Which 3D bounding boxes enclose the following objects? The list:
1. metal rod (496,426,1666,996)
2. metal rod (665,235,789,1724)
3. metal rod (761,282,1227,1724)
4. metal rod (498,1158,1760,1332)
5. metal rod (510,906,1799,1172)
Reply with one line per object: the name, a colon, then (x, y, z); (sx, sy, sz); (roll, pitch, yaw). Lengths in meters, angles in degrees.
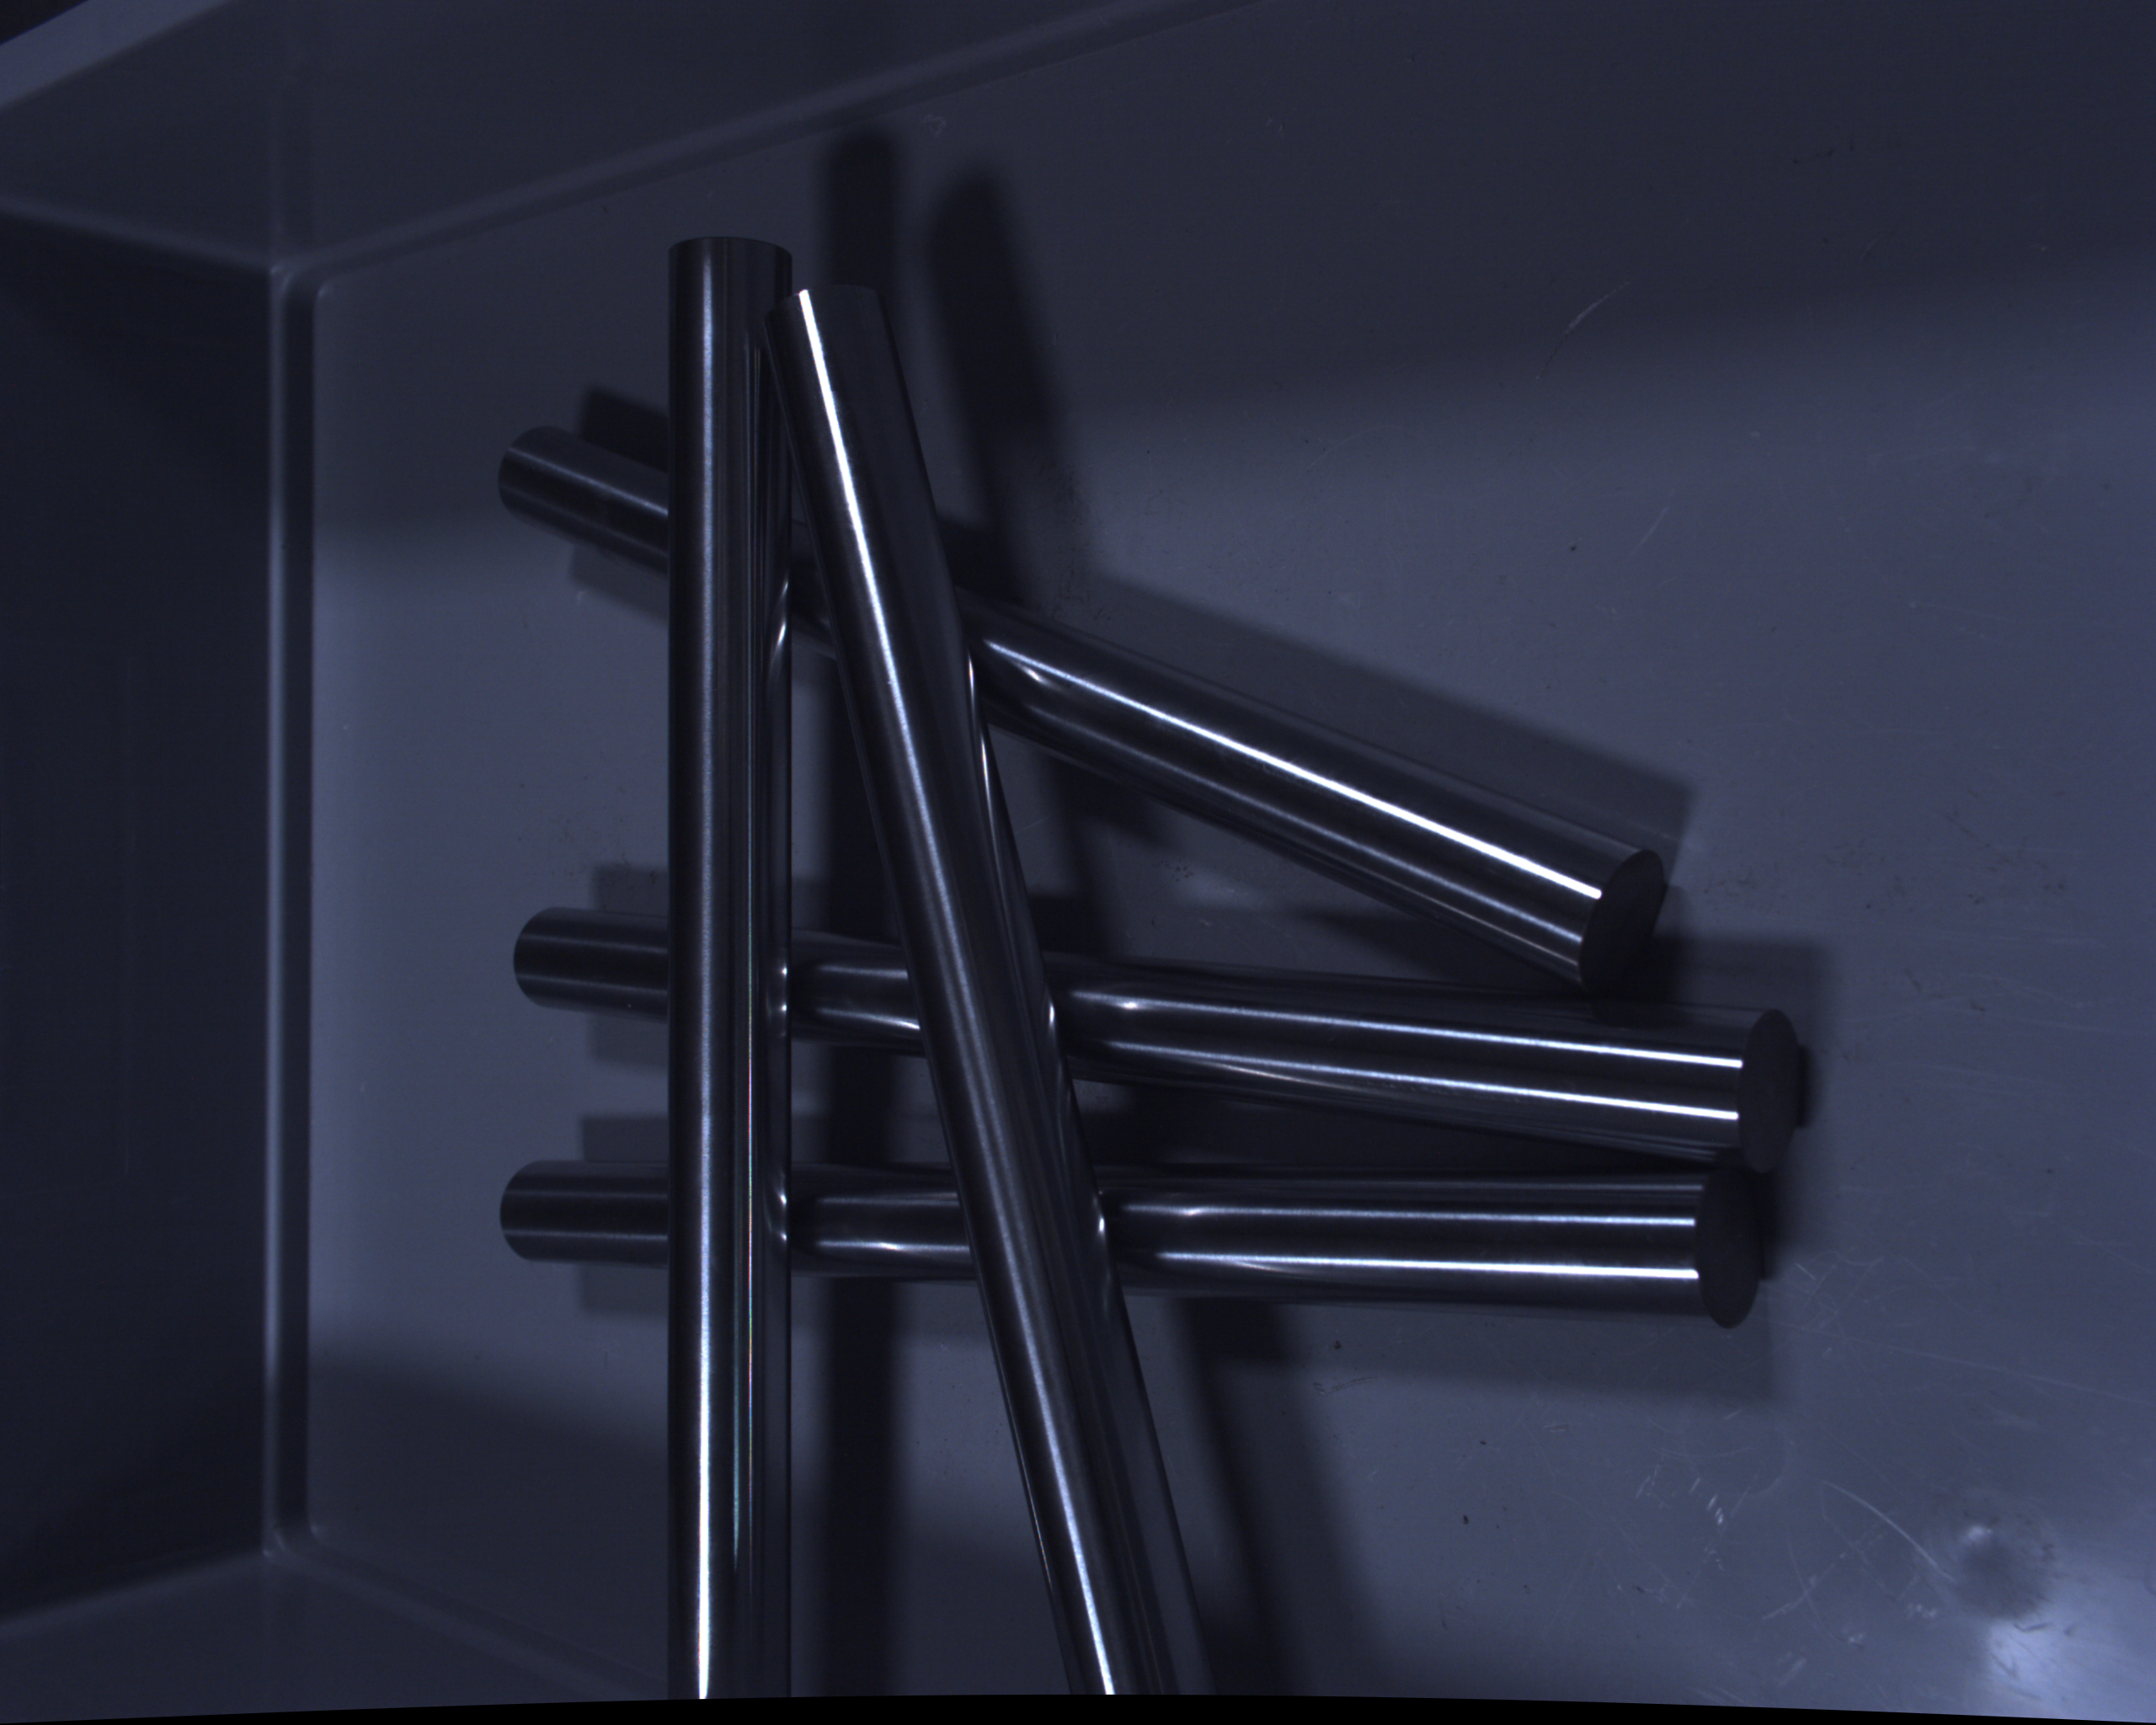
metal rod: (-0.022, -0.042, 0.420); (0.300, 0.025, 0.025); (26, 106, 36)
metal rod: (-0.072, 0.024, 0.428); (0.025, 0.025, 0.298); (0, 90, 39)
metal rod: (-0.015, 0.034, 0.383); (0.025, 0.025, 0.299); (-22, 76, 37)
metal rod: (-0.016, 0.072, 0.416); (0.300, 0.025, 0.025); (-6, 86, 39)
metal rod: (-0.011, 0.029, 0.412); (0.300, 0.025, 0.025); (3, 92, 39)
